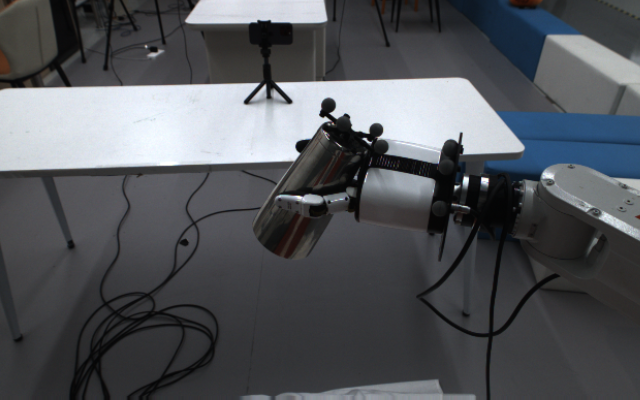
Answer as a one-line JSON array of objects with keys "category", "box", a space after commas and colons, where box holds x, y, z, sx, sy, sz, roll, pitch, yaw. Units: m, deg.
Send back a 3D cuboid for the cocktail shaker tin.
[{"category": "cocktail shaker tin", "box": [-0.009, -0.017, 0.626, 0.093, 0.170, 0.093, 26, 32, -17]}]
